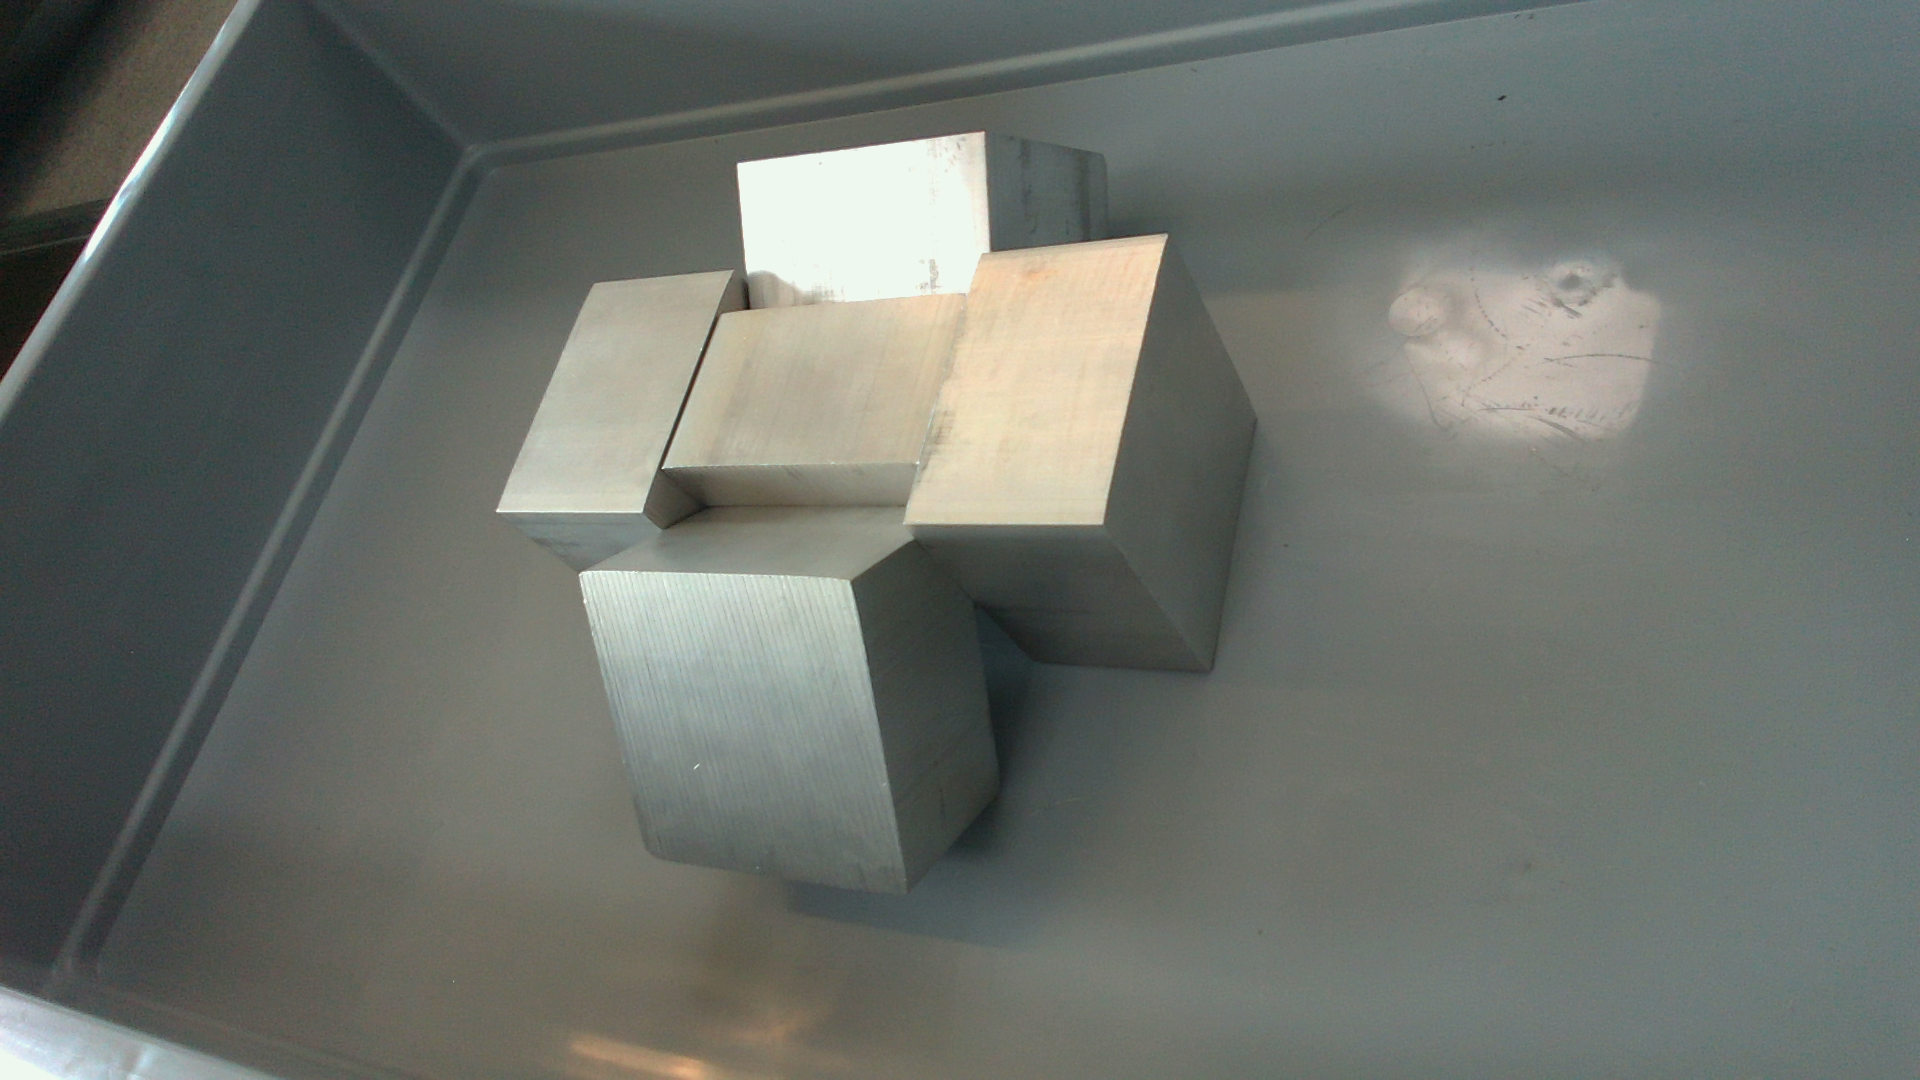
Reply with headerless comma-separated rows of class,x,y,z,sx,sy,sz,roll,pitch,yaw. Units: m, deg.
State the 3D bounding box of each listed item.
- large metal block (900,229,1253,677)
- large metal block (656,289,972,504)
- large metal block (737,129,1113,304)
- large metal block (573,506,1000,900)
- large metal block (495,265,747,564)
large metal block,0.035,-0.019,0.350,0.050,0.080,0.080,1,62,29
large metal block,-0.022,-0.022,0.382,0.080,0.080,0.050,1,62,29
large metal block,-0.007,-0.087,0.407,0.080,0.080,0.050,2,100,29
large metal block,-0.042,0.037,0.348,0.080,0.080,0.050,1,20,28
large metal block,-0.080,-0.024,0.415,0.050,0.080,0.080,1,62,29
